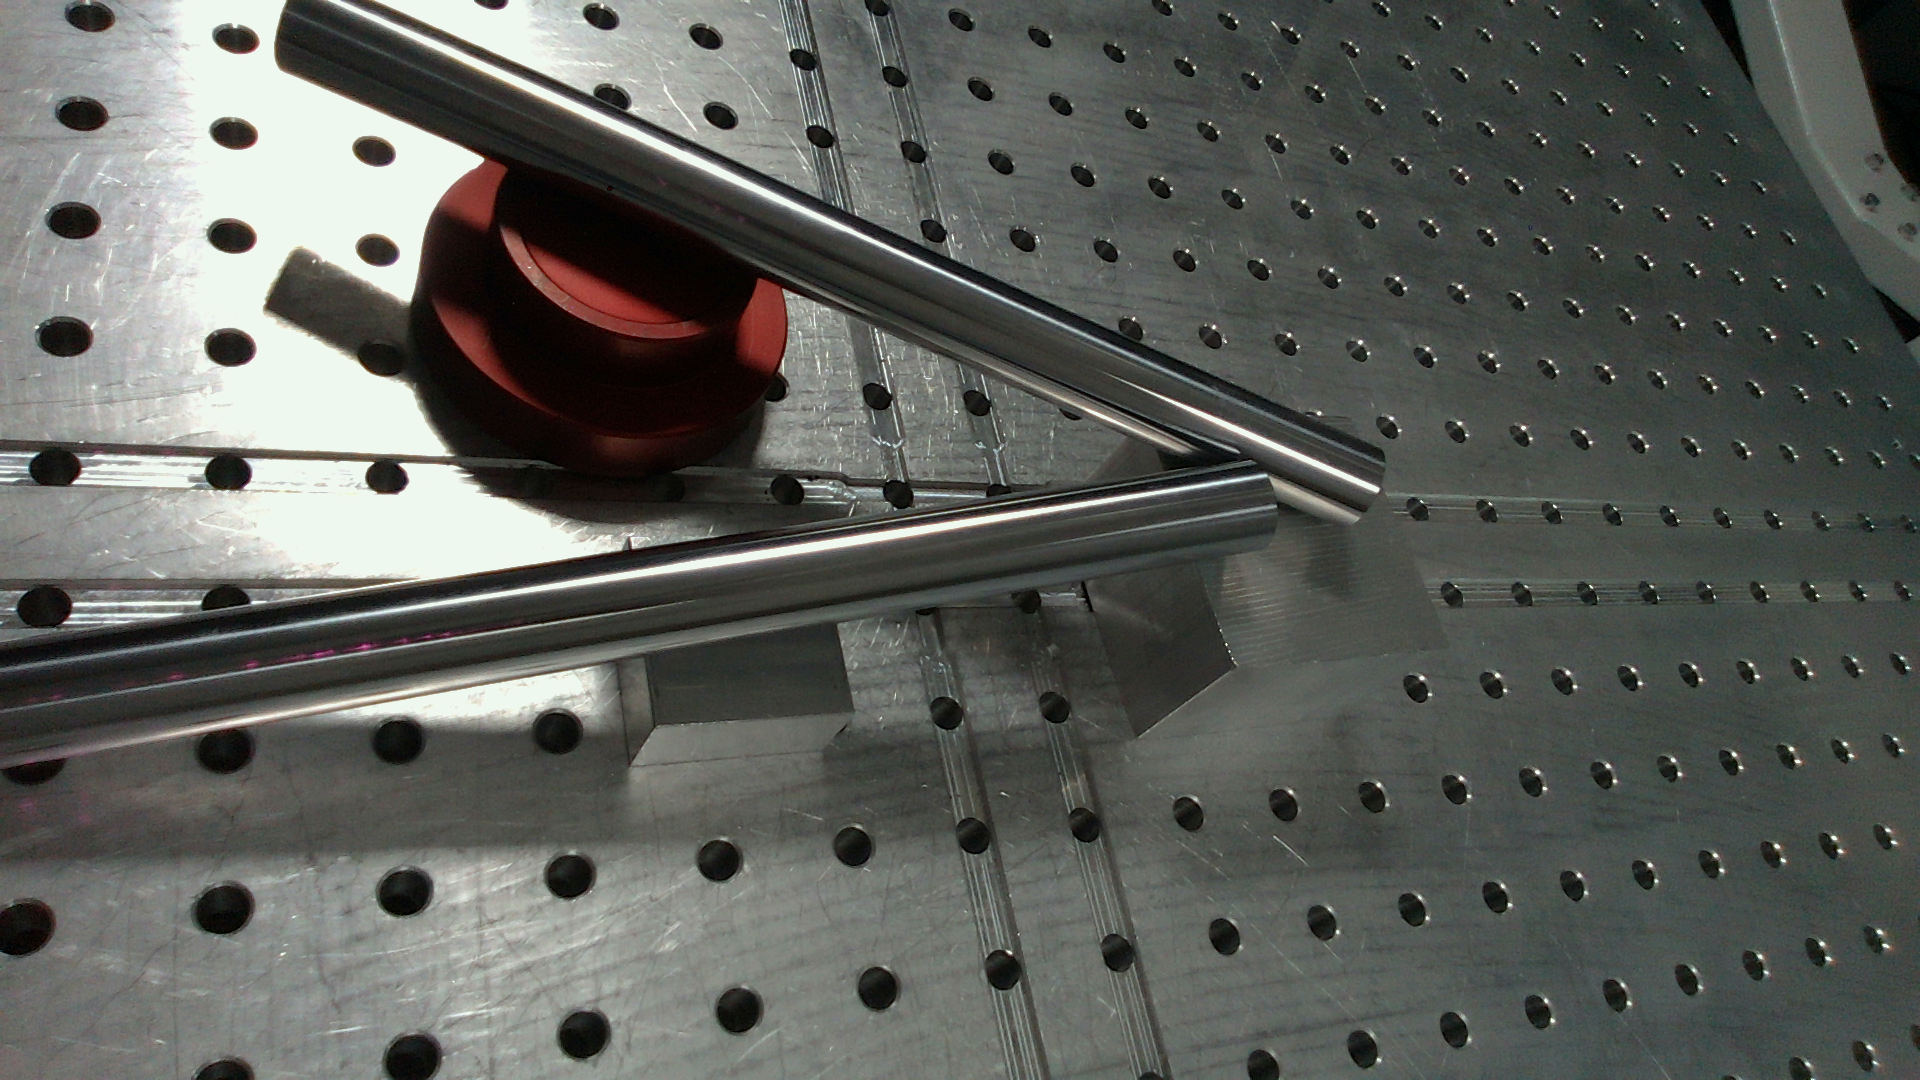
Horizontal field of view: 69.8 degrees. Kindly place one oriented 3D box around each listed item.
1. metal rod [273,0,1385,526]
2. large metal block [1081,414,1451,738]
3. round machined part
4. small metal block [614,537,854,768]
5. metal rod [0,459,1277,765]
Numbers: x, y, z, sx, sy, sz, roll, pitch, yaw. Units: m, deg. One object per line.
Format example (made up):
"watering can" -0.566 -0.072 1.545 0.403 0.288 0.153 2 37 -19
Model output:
"metal rod" -0.023 -0.071 0.362 0.300 0.025 0.025 22 53 -12
"large metal block" 0.087 0.009 0.414 0.080 0.050 0.080 -2 63 -29
"round machined part" -0.094 -0.070 0.374 0.098 0.042 0.098 14 56 -21
"small metal block" -0.059 0.027 0.345 0.050 0.025 0.050 0 62 -28
"metal rod" -0.061 0.012 0.317 0.301 0.025 0.025 -9 66 -21
